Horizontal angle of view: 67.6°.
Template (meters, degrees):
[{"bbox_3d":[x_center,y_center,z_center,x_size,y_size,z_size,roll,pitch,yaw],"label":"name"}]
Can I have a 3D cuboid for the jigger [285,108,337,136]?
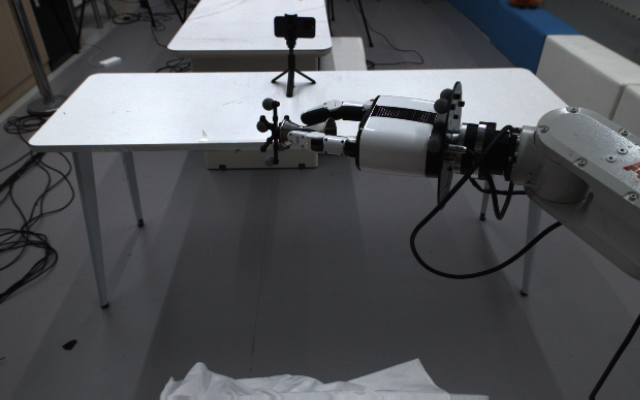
[{"bbox_3d":[-0.010,-0.095,0.667,0.071,0.043,0.043,4,33,22],"label":"jigger"}]
